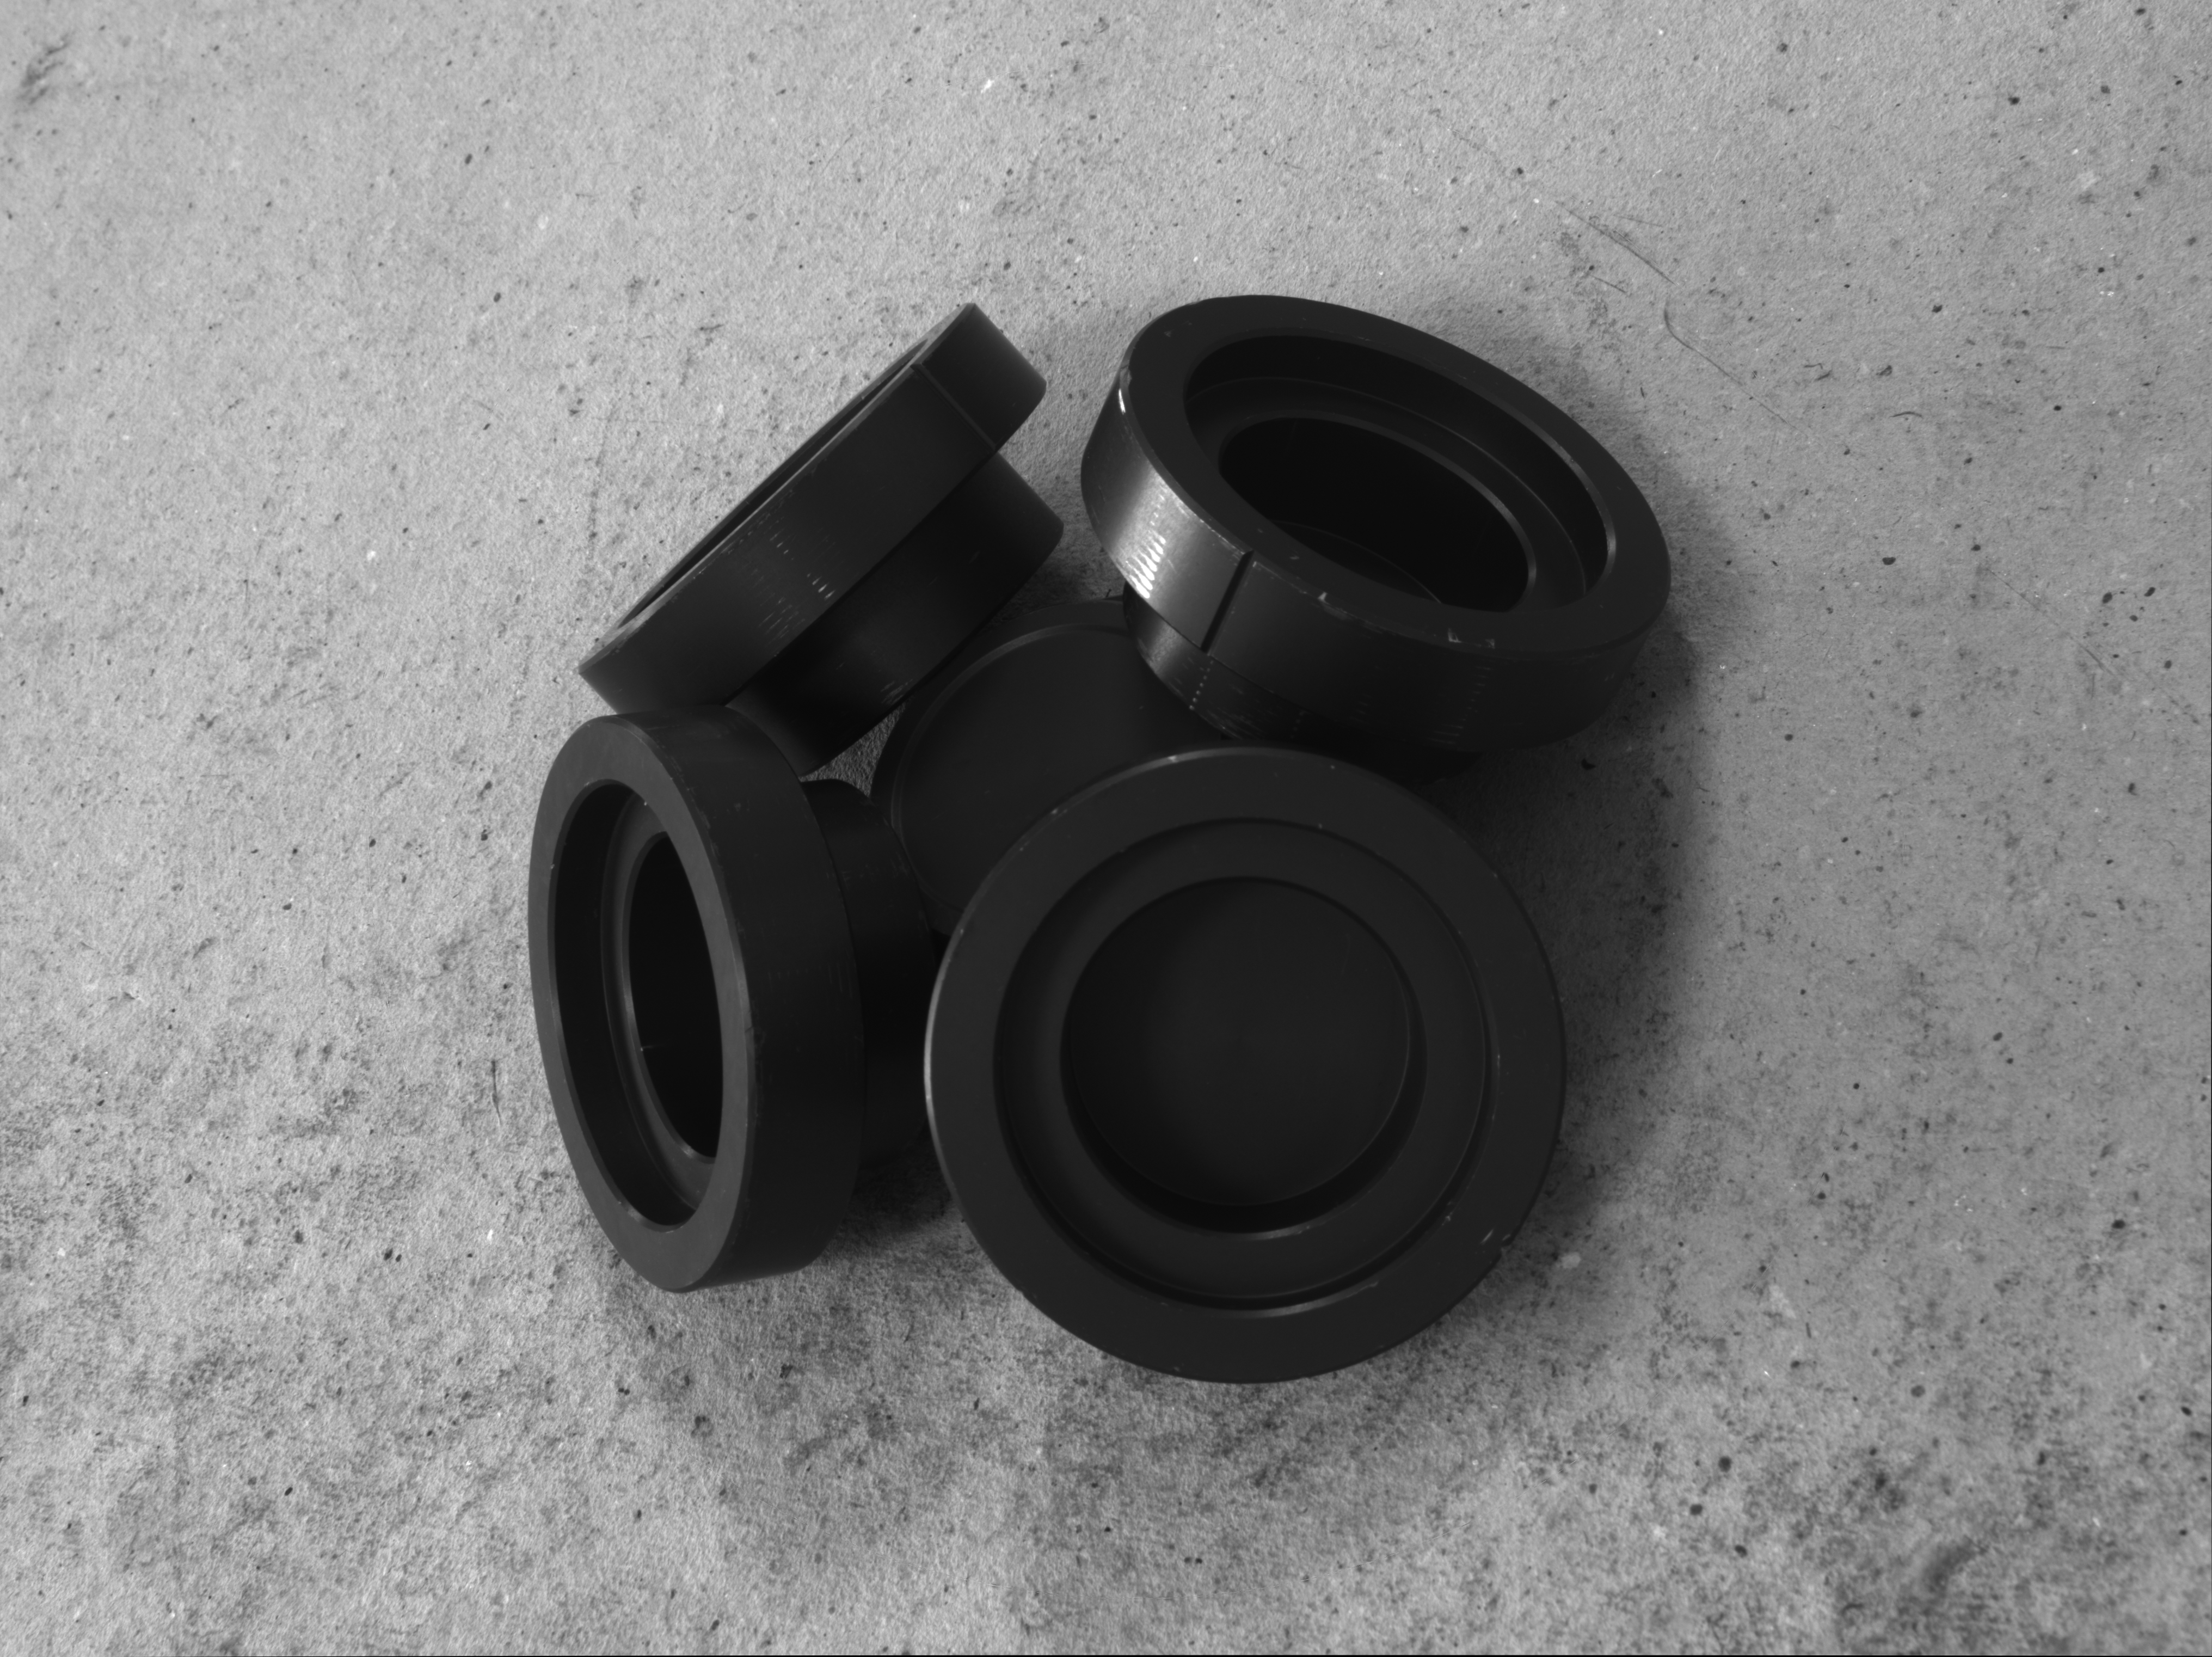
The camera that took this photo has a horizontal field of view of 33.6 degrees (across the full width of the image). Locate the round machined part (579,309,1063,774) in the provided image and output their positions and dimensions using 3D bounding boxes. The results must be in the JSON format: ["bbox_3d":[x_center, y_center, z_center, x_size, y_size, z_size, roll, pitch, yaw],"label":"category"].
[{"bbox_3d":[-0.046,-0.047,0.667,0.098,0.042,0.098,-41,9,9],"label":"round machined part"}]

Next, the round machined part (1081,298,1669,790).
[{"bbox_3d":[0.041,-0.044,0.616,0.098,0.098,0.042,60,137,39],"label":"round machined part"}]

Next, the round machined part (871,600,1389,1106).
[{"bbox_3d":[-0.002,0.000,0.635,0.098,0.042,0.098,-13,54,19],"label":"round machined part"}]

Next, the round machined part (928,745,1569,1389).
[{"bbox_3d":[0.022,0.036,0.579,0.098,0.042,0.098,0,95,0],"label":"round machined part"}]

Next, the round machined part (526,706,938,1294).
[{"bbox_3d":[-0.062,0.028,0.628,0.042,0.098,0.098,-7,43,-29],"label":"round machined part"}]
